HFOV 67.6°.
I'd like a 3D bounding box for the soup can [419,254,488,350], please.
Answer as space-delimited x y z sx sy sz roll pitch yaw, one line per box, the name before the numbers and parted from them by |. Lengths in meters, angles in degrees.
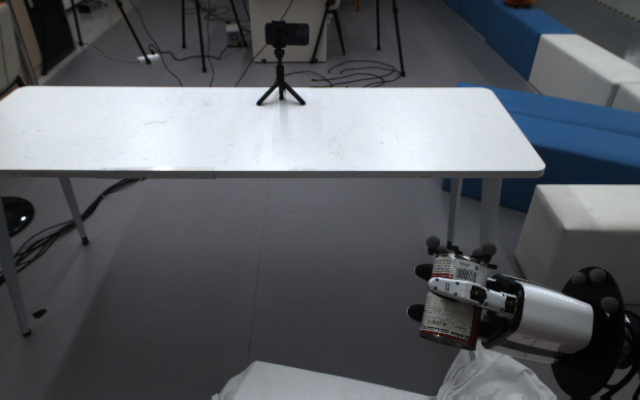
soup can | 0.166 0.123 0.593 0.067 0.067 0.101 12 73 13
